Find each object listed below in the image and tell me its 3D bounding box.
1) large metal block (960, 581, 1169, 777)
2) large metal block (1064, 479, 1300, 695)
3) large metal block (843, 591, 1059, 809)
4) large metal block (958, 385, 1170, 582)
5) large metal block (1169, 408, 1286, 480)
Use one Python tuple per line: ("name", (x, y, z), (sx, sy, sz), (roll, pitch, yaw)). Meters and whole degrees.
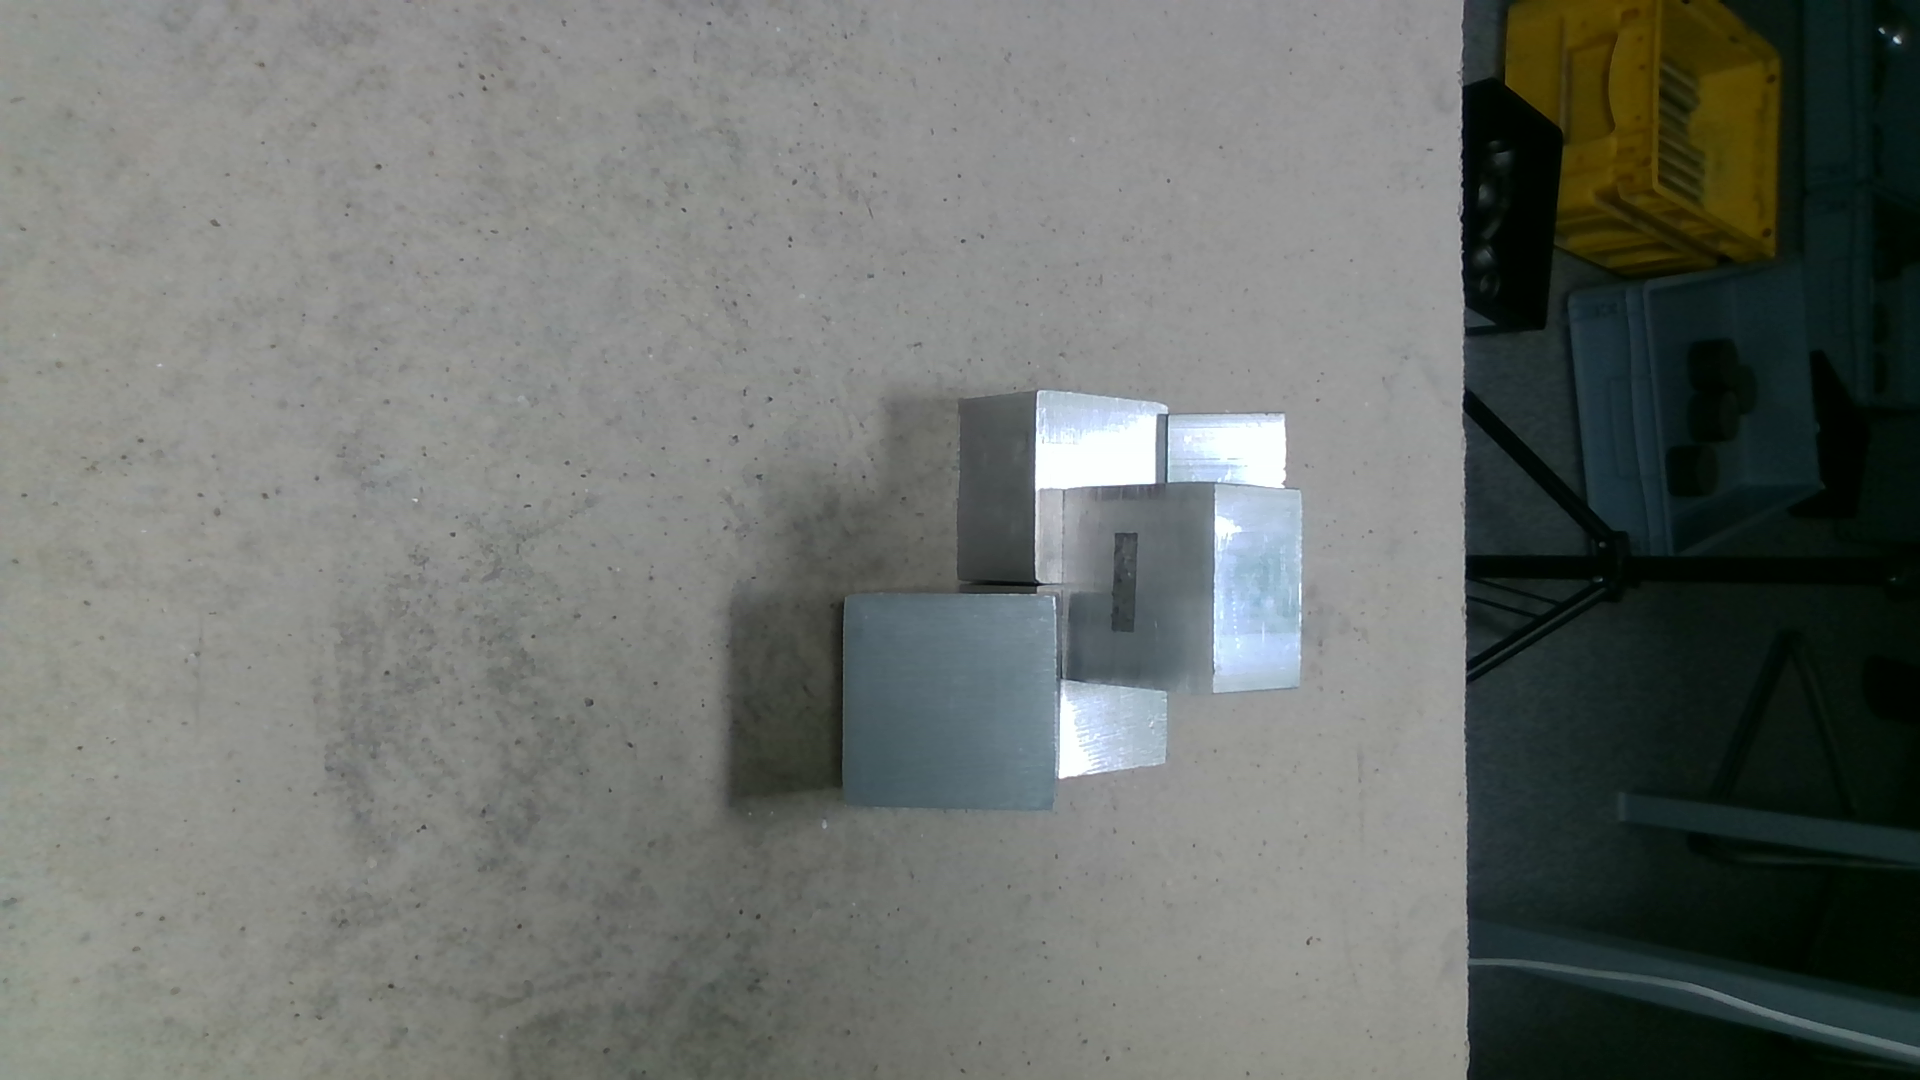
("large metal block", (0.046, 0.058, 0.604), (0.080, 0.050, 0.080), (1, 89, -40))
("large metal block", (0.088, 0.018, 0.557), (0.050, 0.080, 0.080), (1, 89, -40))
("large metal block", (-0.001, 0.060, 0.538), (0.050, 0.080, 0.080), (1, 89, -84))
("large metal block", (0.046, -0.022, 0.604), (0.080, 0.050, 0.080), (1, 89, -40))
("large metal block", (0.121, -0.017, 0.642), (0.080, 0.050, 0.080), (7, 83, -84))
